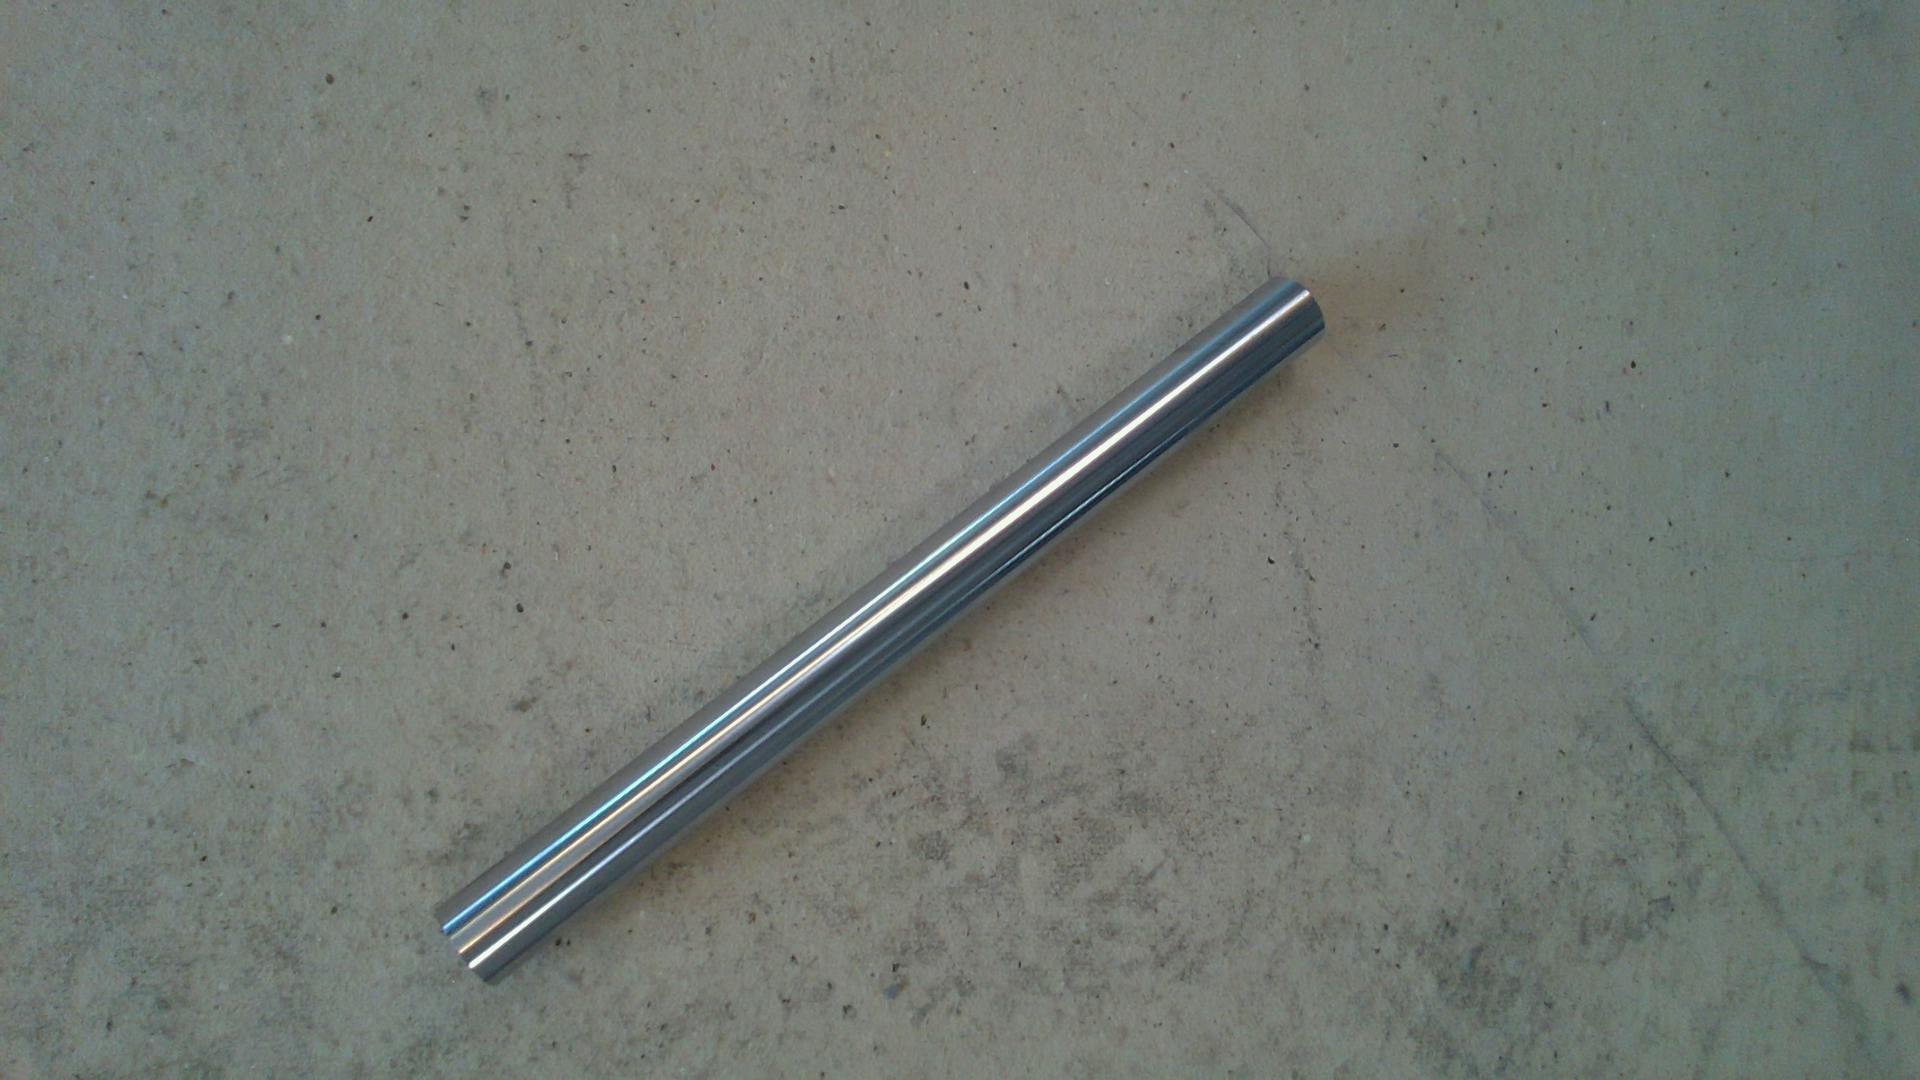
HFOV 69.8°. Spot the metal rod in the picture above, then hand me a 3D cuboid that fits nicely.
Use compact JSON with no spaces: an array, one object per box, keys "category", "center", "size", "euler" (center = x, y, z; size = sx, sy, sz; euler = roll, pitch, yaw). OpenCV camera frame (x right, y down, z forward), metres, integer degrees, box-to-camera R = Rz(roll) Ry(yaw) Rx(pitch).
[{"category":"metal rod","center":[-0.011,0.015,0.390],"size":[0.301,0.025,0.025],"euler":[-37,102,-16]}]
